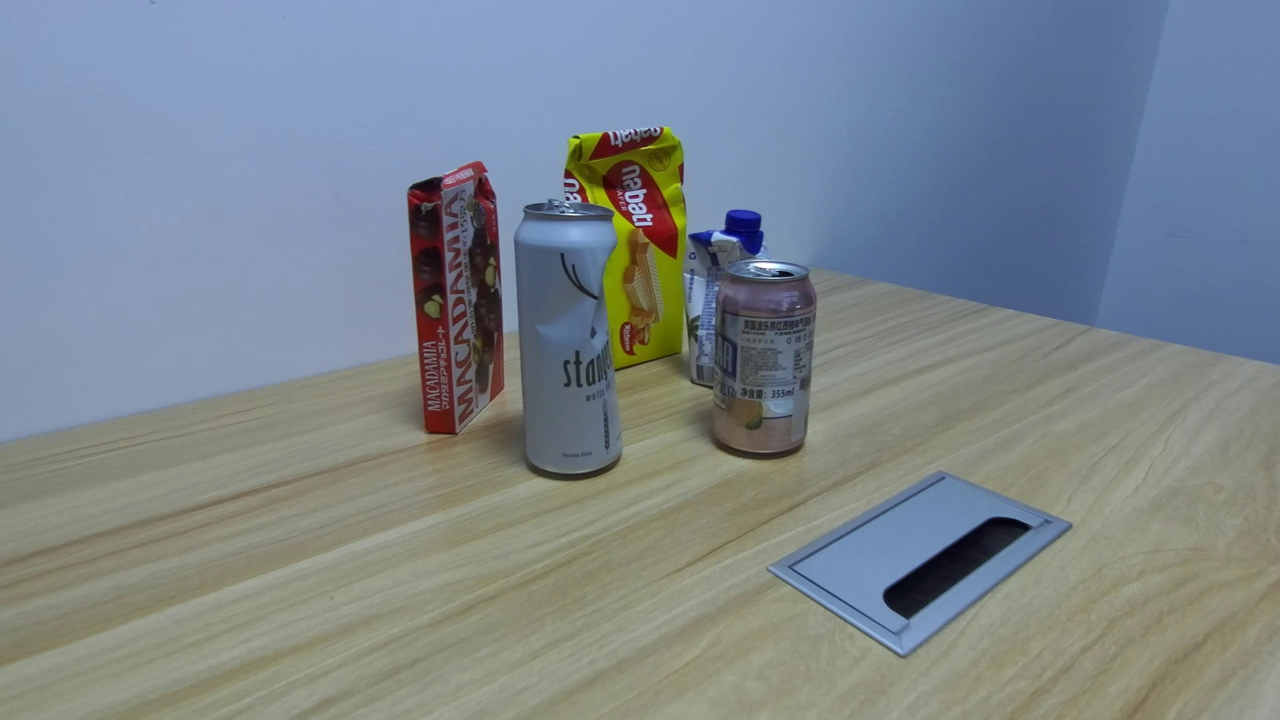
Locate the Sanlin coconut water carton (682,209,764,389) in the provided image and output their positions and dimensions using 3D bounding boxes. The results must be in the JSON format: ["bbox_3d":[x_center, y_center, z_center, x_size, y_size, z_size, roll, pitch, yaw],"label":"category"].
[{"bbox_3d":[0.074,-0.050,0.590,0.068,0.144,0.057,6,12,39],"label":"Sanlin coconut water carton"}]

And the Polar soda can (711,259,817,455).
[{"bbox_3d":[0.082,-0.002,0.482,0.067,0.125,0.067,1,21,0],"label":"Polar soda can"}]

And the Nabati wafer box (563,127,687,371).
[{"bbox_3d":[-0.008,-0.098,0.632,0.114,0.205,0.042,-16,23,-32],"label":"Nabati wafer box"}]

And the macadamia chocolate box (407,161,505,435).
[{"bbox_3d":[-0.134,-0.049,0.534,0.027,0.187,0.103,6,21,10],"label":"macadamia chocolate box"}]

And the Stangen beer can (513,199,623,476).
[{"bbox_3d":[-0.042,-0.014,0.455,0.070,0.173,0.069,-16,24,-39],"label":"Stangen beer can"}]
